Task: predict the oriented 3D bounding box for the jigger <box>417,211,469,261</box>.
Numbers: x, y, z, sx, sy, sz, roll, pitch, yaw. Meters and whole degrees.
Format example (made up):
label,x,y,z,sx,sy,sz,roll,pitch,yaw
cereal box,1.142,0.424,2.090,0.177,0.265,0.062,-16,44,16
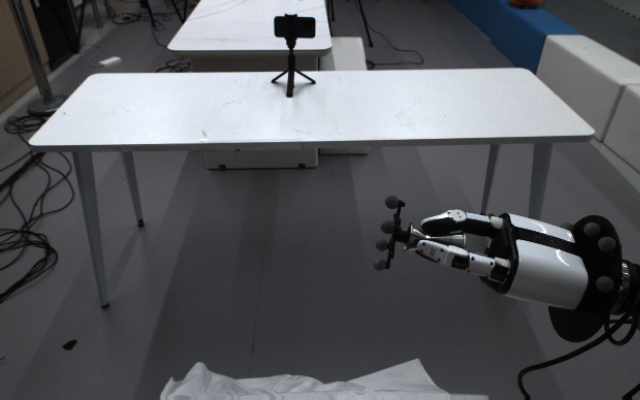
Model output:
label,x,y,z,sx,sy,sz,roll,pitch,yaw
jigger,0.150,0.052,0.612,0.071,0.043,0.043,12,35,4
